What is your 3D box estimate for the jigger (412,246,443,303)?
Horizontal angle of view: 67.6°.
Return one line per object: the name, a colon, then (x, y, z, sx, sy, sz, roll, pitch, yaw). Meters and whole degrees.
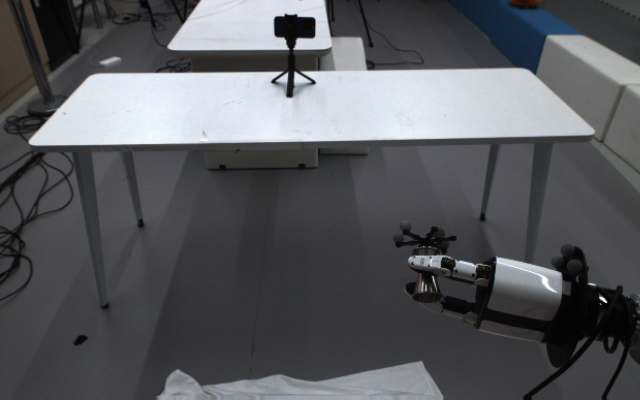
jigger: (0.148, 0.101, 0.675, 0.043, 0.043, 0.071, 4, 61, 3)
